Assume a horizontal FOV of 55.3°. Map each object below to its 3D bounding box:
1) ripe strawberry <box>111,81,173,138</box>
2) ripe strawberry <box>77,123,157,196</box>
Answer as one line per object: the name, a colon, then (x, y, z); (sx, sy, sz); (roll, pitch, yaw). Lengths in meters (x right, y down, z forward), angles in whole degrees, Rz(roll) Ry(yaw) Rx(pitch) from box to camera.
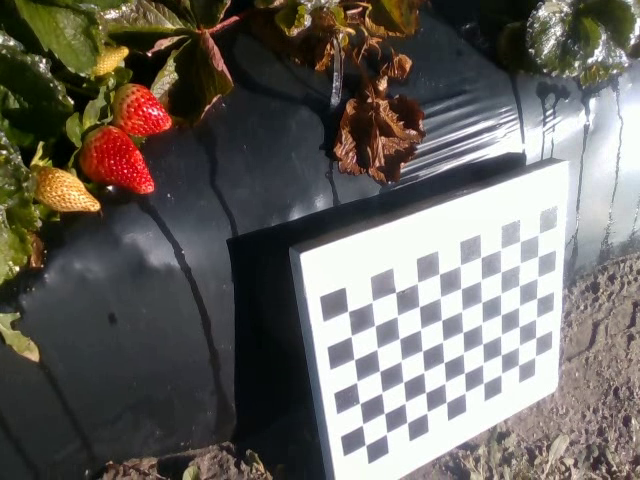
ripe strawberry: (-0.111, -0.081, 0.384); (0.041, 0.036, 0.030); (11, 12, -28)
ripe strawberry: (-0.119, -0.044, 0.372); (0.052, 0.037, 0.040); (36, -4, 3)
